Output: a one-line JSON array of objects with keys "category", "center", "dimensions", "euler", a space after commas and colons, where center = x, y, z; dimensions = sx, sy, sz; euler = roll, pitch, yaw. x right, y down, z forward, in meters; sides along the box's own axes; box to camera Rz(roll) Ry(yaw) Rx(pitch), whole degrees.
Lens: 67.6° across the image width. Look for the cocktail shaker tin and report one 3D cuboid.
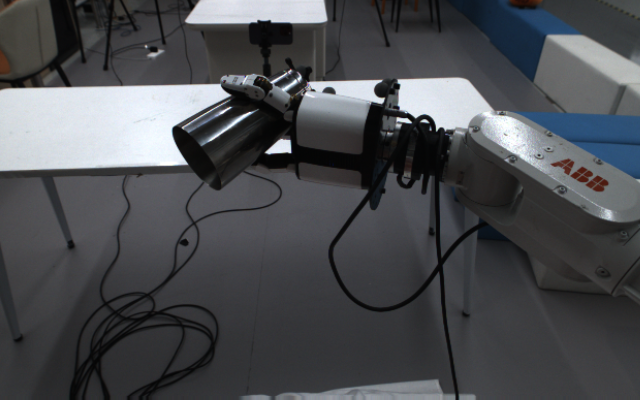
[{"category": "cocktail shaker tin", "center": [-0.088, -0.103, 0.614], "dimensions": [0.170, 0.093, 0.093], "euler": [-38, 50, -24]}]
